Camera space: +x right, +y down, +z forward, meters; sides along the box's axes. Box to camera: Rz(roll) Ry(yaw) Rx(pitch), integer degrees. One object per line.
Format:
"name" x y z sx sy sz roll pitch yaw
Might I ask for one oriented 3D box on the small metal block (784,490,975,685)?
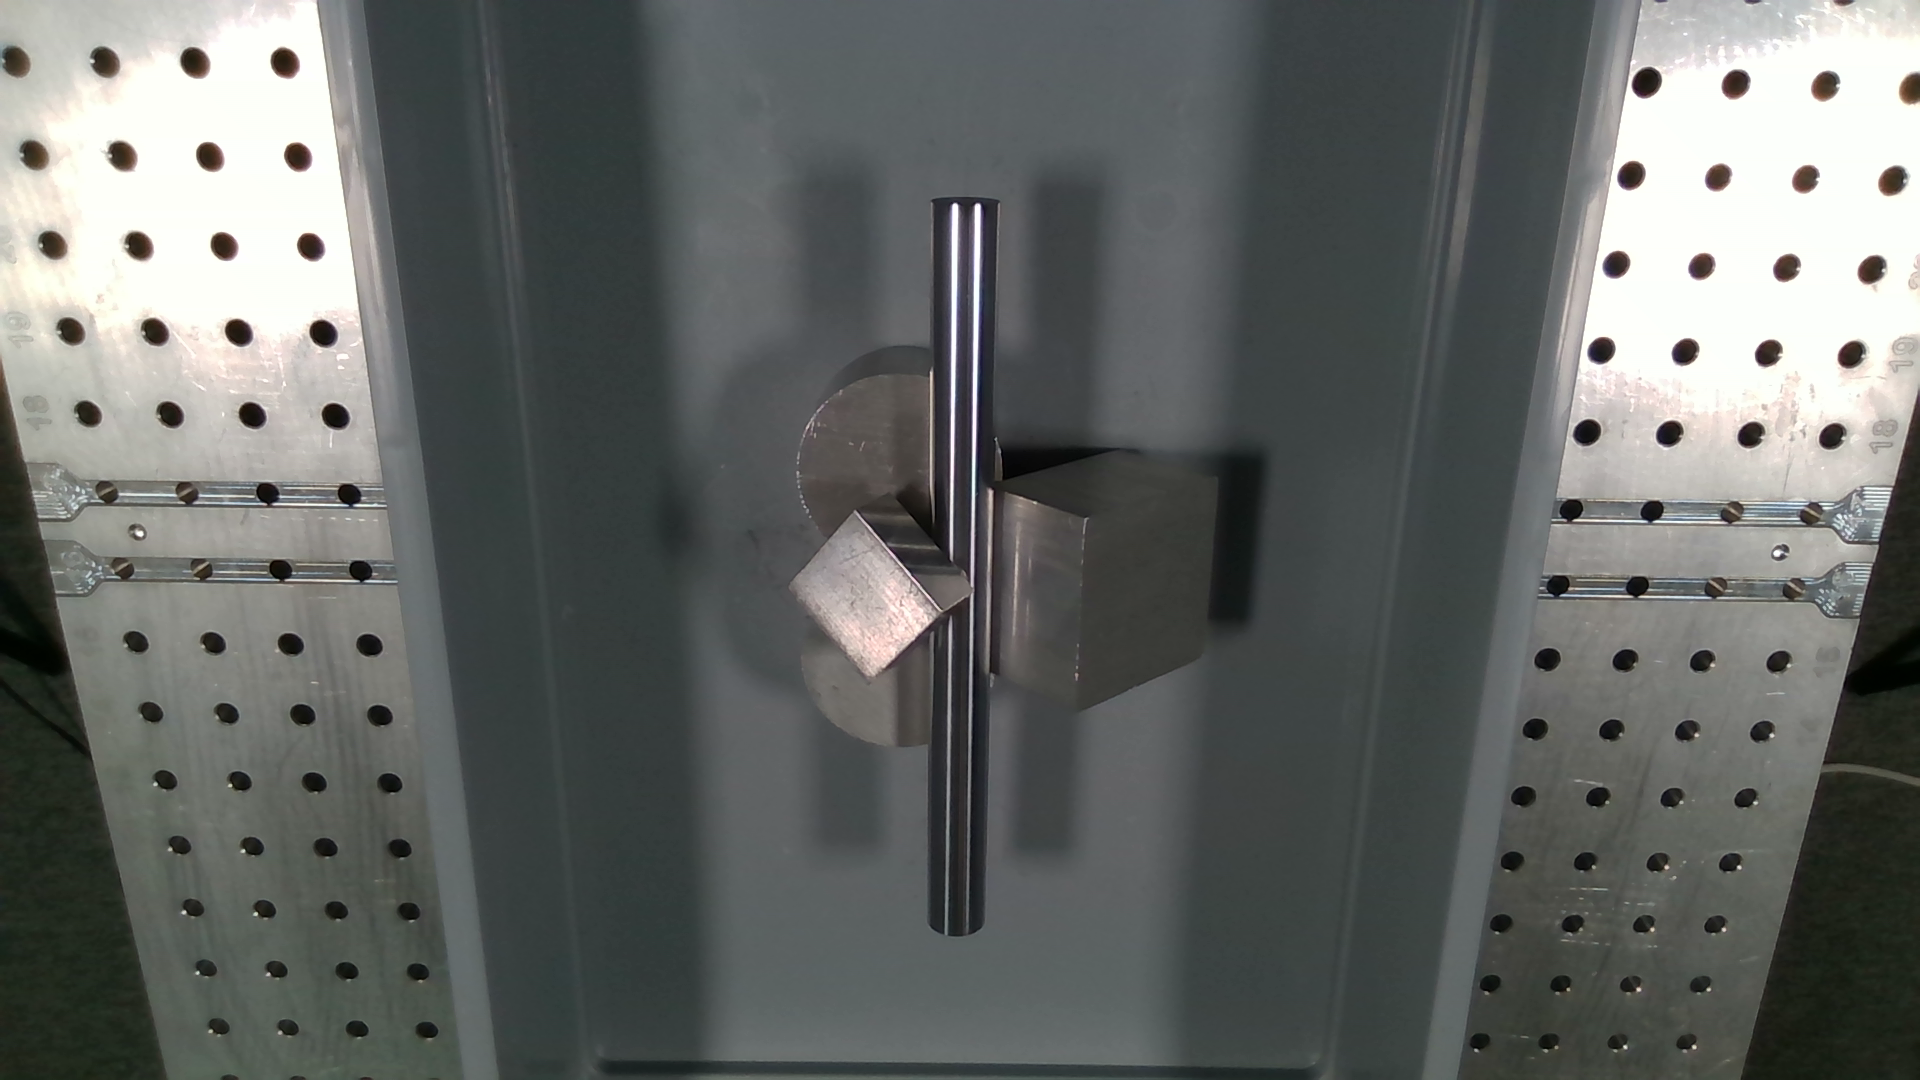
"small metal block" -0.031 0.018 0.526 0.050 0.025 0.050 48 124 6

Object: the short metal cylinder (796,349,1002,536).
"short metal cylinder" -0.024 -0.035 0.558 0.080 0.050 0.080 0 110 0

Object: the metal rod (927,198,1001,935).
"metal rod" 0.000 0.021 0.538 0.025 0.025 0.301 1 110 0

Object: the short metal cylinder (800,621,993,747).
"short metal cylinder" -0.025 0.041 0.586 0.080 0.050 0.080 0 110 0

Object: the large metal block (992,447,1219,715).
"large metal block" 0.056 0.014 0.553 0.080 0.050 0.080 -17 117 -40
